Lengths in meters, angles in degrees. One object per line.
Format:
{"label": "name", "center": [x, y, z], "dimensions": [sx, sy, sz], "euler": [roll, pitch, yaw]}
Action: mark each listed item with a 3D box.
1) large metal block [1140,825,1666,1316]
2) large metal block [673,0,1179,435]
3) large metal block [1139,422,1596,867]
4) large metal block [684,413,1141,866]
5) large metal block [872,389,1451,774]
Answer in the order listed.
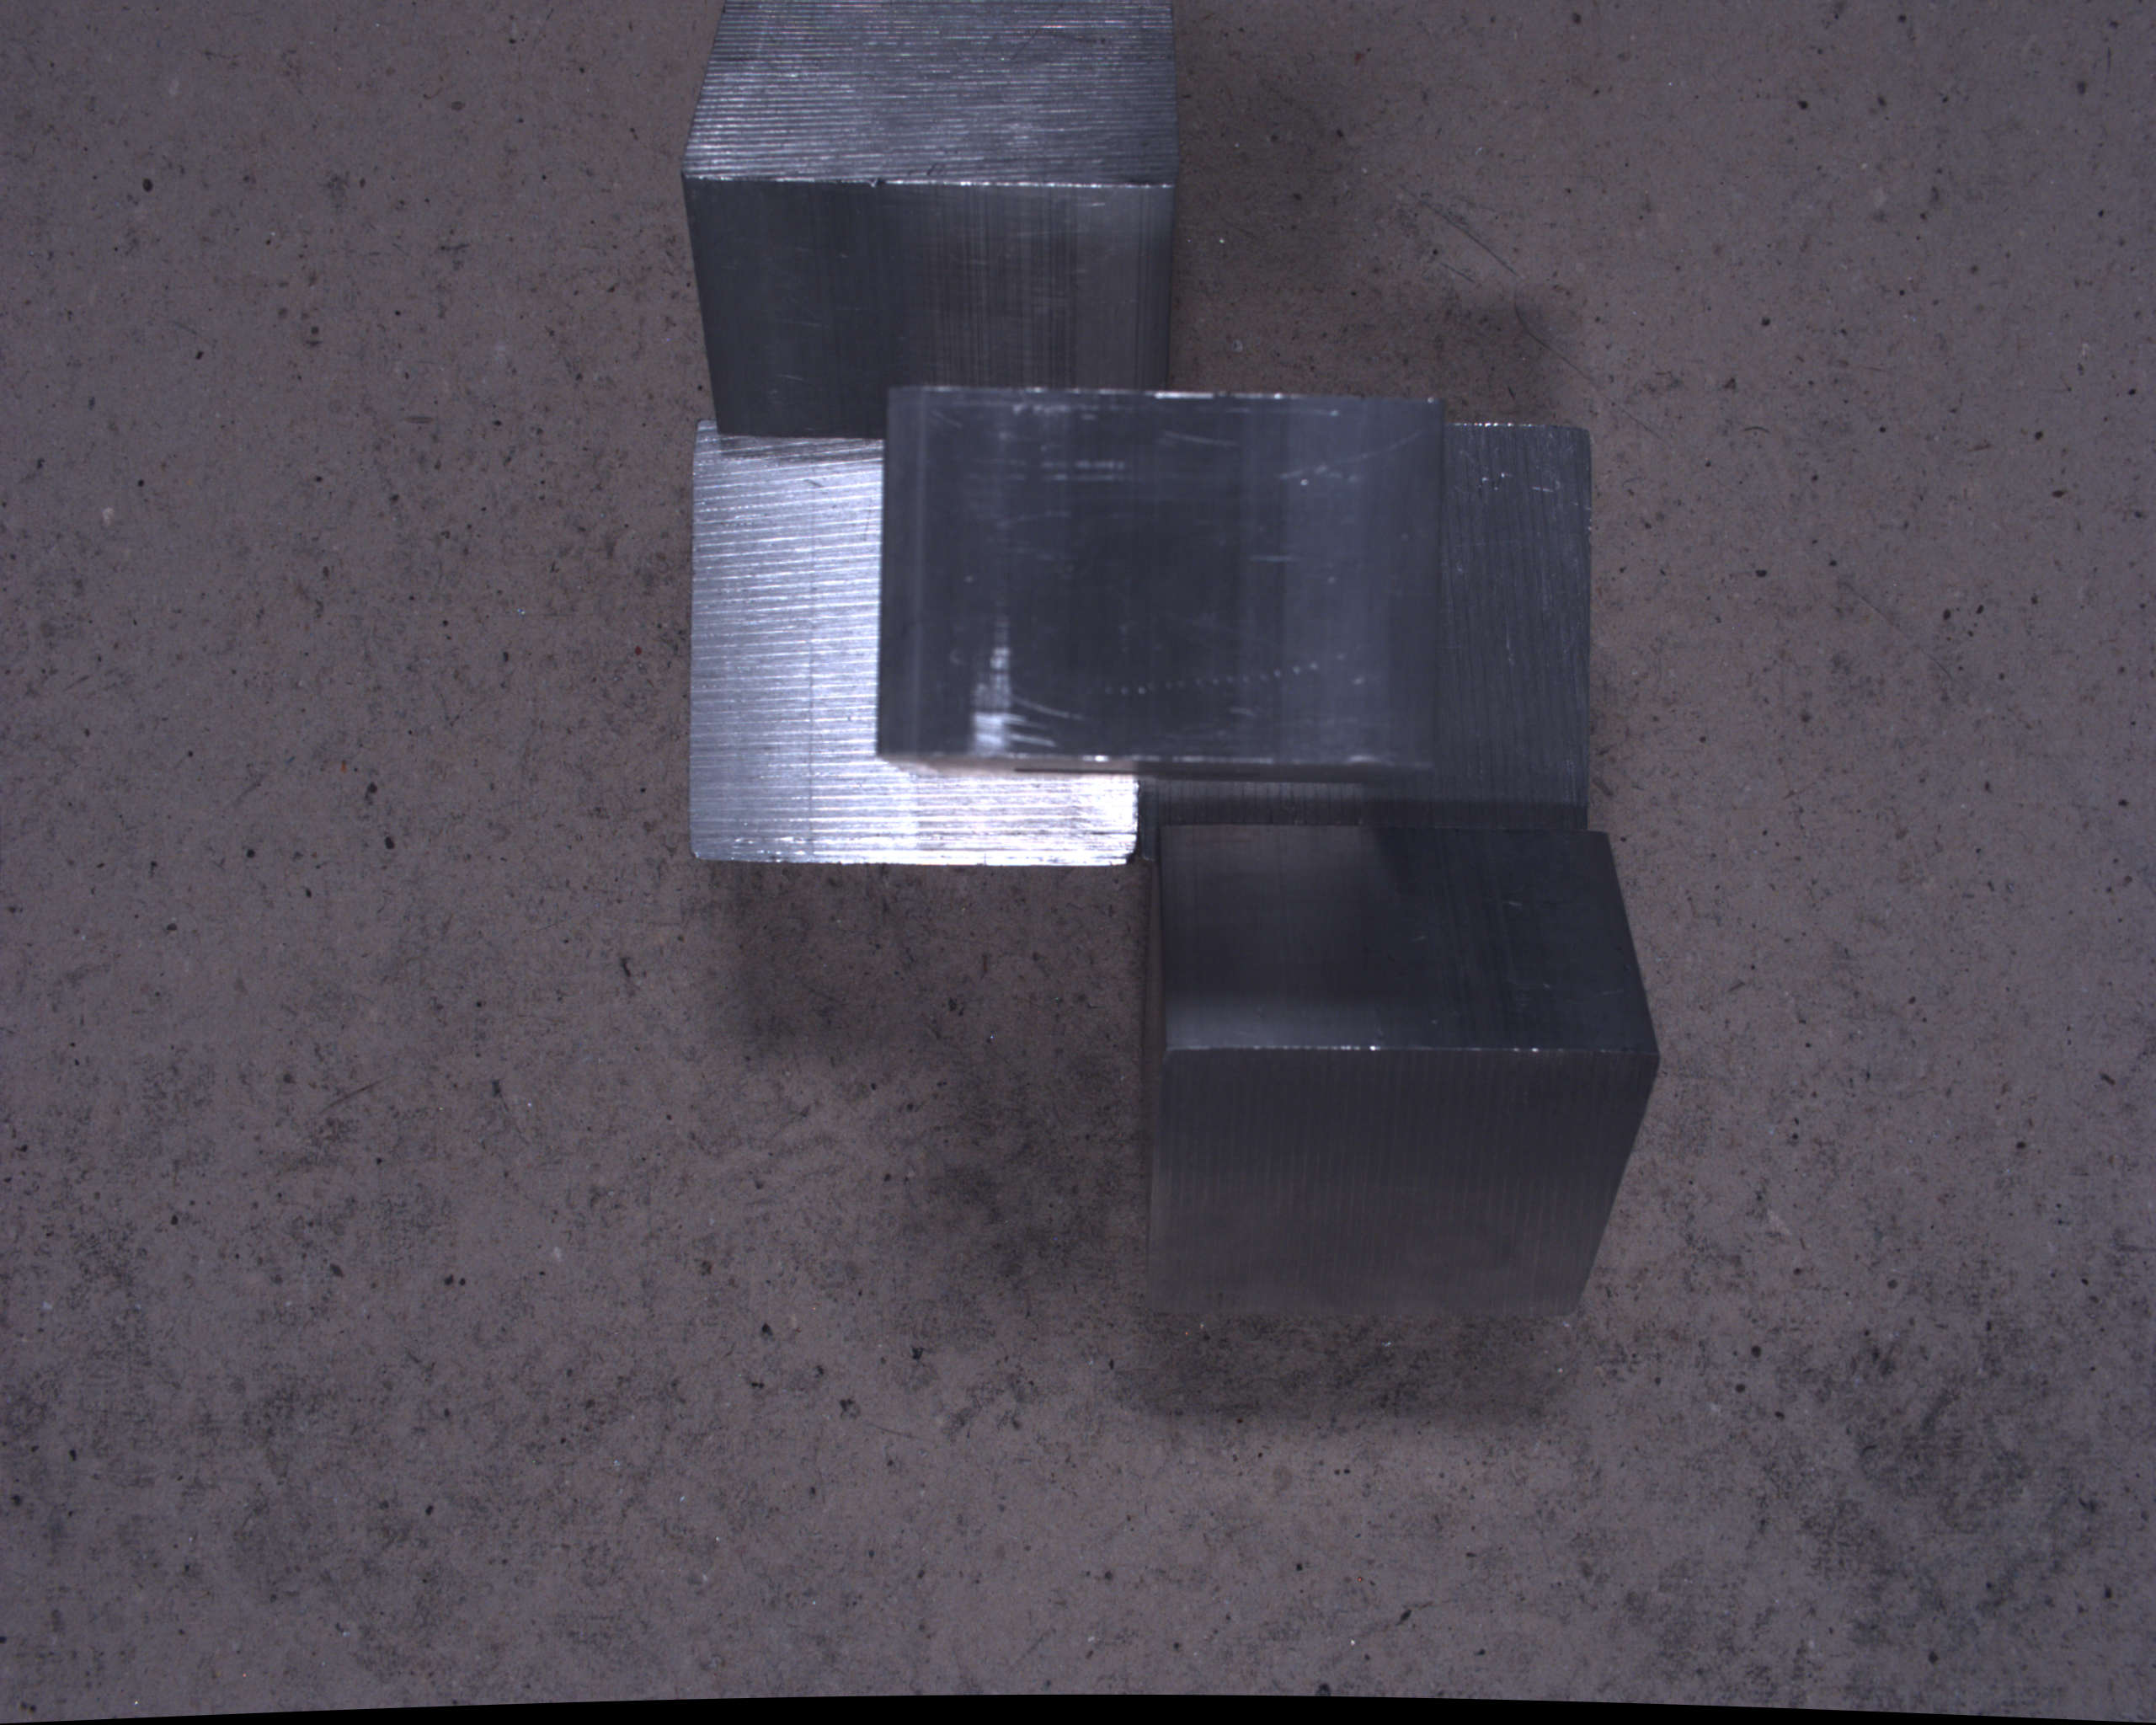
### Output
{"label": "large metal block", "center": [0.053, 0.039, 0.378], "dimensions": [0.081, 0.079, 0.050], "euler": [0, 46, -1]}
{"label": "large metal block", "center": [-0.024, -0.121, 0.377], "dimensions": [0.081, 0.050, 0.080], "euler": [1, 46, 0]}
{"label": "large metal block", "center": [0.052, -0.039, 0.398], "dimensions": [0.081, 0.050, 0.079], "euler": [1, 90, -1]}
{"label": "large metal block", "center": [-0.029, -0.040, 0.397], "dimensions": [0.081, 0.050, 0.079], "euler": [1, 90, -1]}
{"label": "large metal block", "center": [0.012, -0.041, 0.334], "dimensions": [0.081, 0.080, 0.050], "euler": [1, 90, -1]}
